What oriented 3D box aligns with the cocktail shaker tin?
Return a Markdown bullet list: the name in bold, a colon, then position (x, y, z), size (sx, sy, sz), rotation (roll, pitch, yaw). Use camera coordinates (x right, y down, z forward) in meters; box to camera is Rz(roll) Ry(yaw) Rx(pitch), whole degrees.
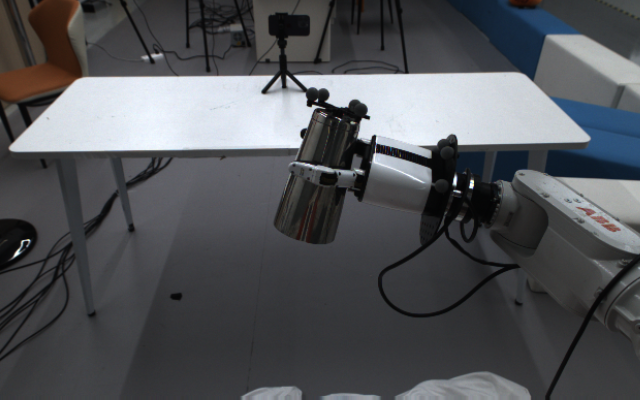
- **cocktail shaker tin**: position (0.000, -0.036, 0.672), size (0.093, 0.170, 0.093), rotation (15, 17, -5)
